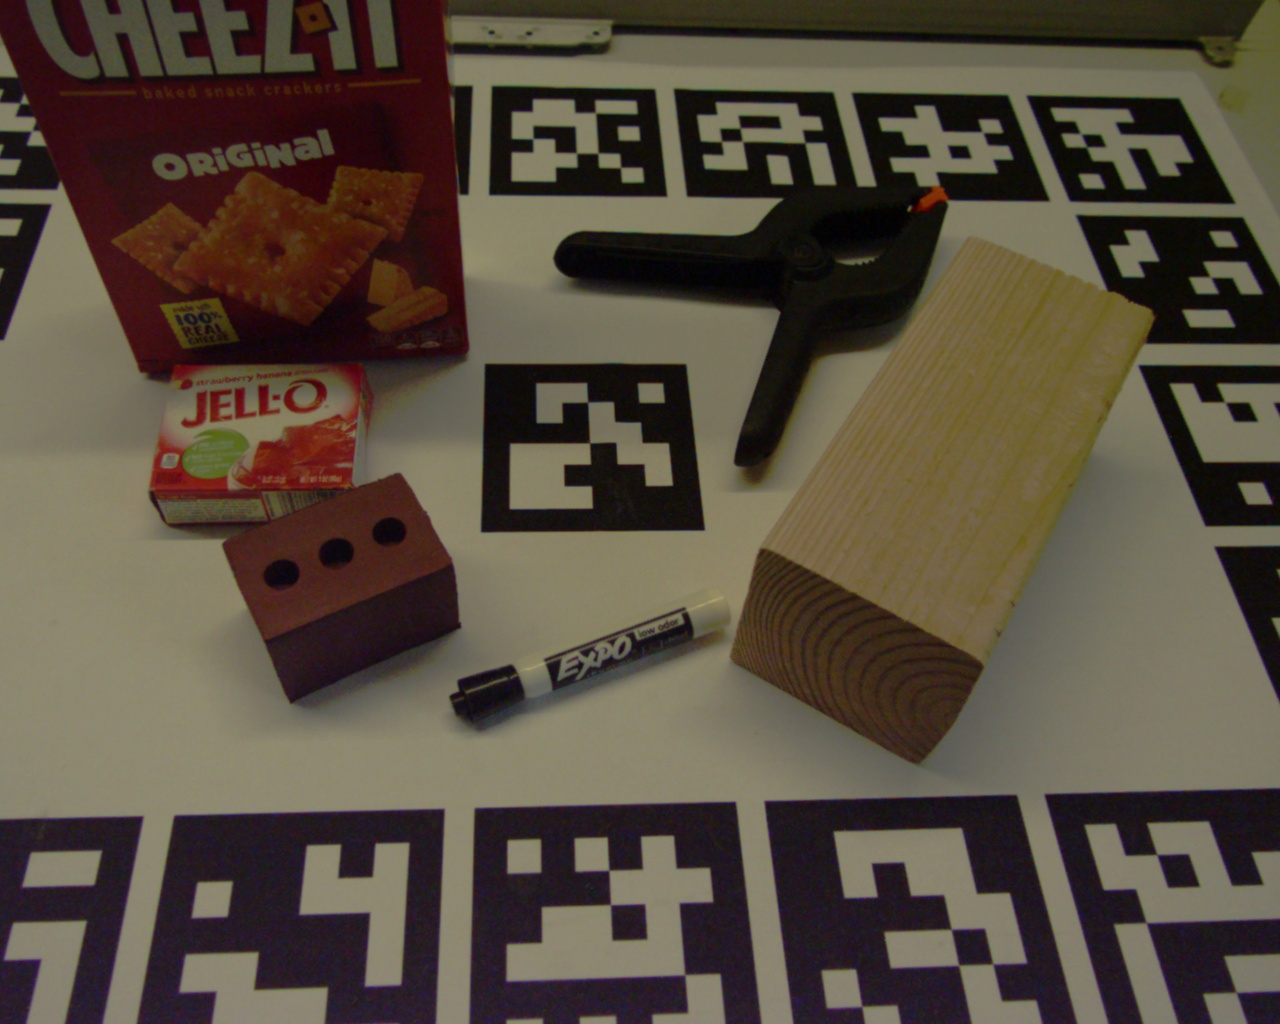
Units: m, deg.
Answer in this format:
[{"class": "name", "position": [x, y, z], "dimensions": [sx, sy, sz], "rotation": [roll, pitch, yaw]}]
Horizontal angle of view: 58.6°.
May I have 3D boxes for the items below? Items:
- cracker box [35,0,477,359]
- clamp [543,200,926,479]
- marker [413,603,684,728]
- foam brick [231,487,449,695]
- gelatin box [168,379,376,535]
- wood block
[{"class": "cracker box", "position": [-0.159, -0.165, 0.523], "dimensions": [0.163, 0.213, 0.072], "rotation": [-2, 56, -8]}, {"class": "clamp", "position": [0.074, -0.119, 0.615], "dimensions": [0.201, 0.036, 0.167], "rotation": [-28, 63, -19]}, {"class": "marker", "position": [-0.039, 0.067, 0.496], "dimensions": [0.120, 0.019, 0.020], "rotation": [-18, 61, -14]}, {"class": "foam brick", "position": [-0.129, 0.034, 0.495], "dimensions": [0.077, 0.051, 0.053], "rotation": [-22, 62, -17]}, {"class": "gelatin box", "position": [-0.175, -0.027, 0.549], "dimensions": [0.089, 0.030, 0.073], "rotation": [-1, 58, -4]}, {"class": "wood block", "position": [0.121, -0.006, 0.516], "dimensions": [0.090, 0.091, 0.205], "rotation": [28, 57, 17]}]
